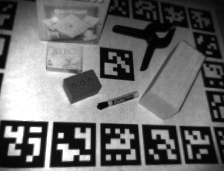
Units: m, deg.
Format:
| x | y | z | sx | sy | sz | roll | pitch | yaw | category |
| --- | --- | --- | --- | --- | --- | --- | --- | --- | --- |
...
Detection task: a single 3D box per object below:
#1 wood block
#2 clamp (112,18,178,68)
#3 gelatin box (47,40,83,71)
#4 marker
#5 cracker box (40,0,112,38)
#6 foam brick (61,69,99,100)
| x | y | z | sx | sy | sz | roll | pitch | yaw | category |
| --- | --- | --- | --- | --- | --- | --- | --- | --- | --- |
| 0.166 | -0.023 | 0.605 | 0.090 | 0.091 | 0.207 | 37 | 62 | 4 | wood block |
| 0.124 | -0.157 | 0.670 | 0.204 | 0.036 | 0.165 | -26 | 79 | -23 | clamp |
| -0.125 | -0.081 | 0.577 | 0.090 | 0.030 | 0.073 | 4 | 70 | -14 | gelatin box |
| 0.001 | 0.035 | 0.569 | 0.122 | 0.019 | 0.019 | -15 | 75 | -20 | marker |
| -0.088 | -0.208 | 0.527 | 0.165 | 0.213 | 0.071 | 2 | 67 | -16 | cracker box |
| -0.082 | -0.006 | 0.545 | 0.078 | 0.051 | 0.052 | -20 | 77 | -21 | foam brick |
